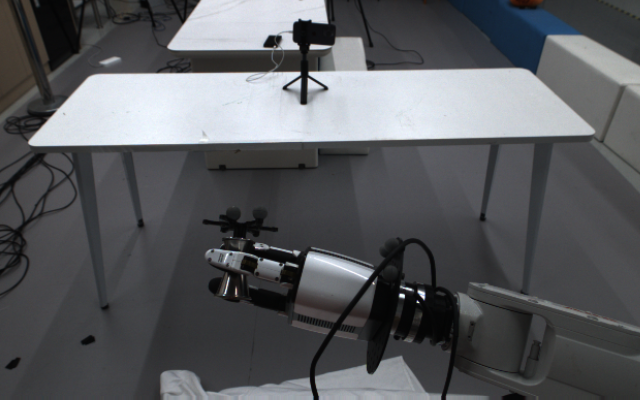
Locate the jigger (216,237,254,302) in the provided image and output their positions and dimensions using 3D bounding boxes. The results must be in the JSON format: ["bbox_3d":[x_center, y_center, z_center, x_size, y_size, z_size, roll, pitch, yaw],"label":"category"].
[{"bbox_3d":[-0.098,0.080,0.567,0.043,0.043,0.071,3,75,2],"label":"jigger"}]
